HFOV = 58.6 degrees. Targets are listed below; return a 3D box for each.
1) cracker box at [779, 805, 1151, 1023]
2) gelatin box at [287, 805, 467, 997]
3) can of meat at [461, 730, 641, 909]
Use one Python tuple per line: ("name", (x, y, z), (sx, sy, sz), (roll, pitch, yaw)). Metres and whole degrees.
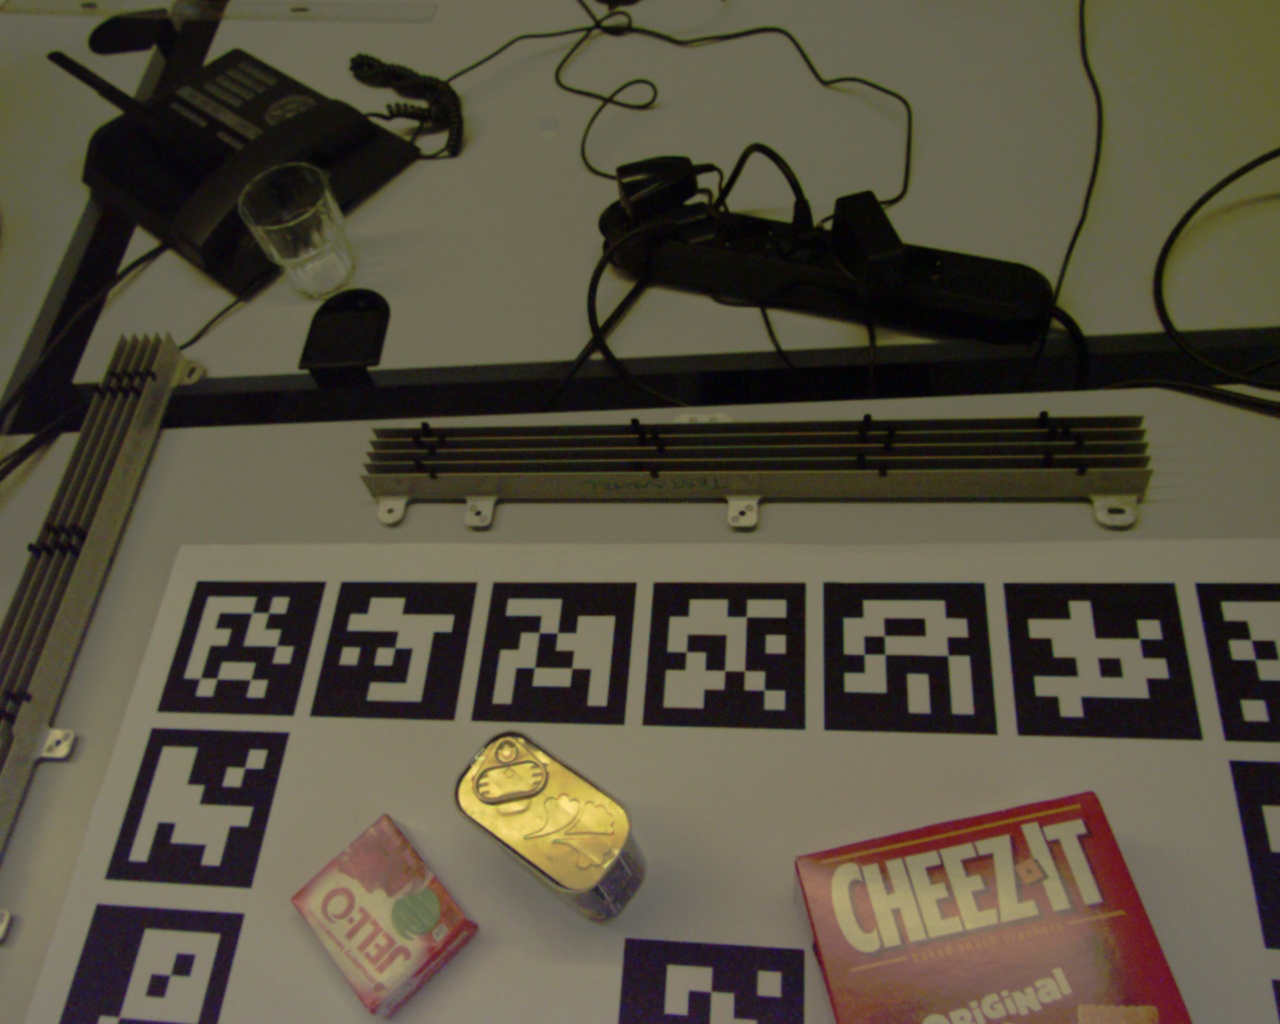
("cracker box", (0.180, 0.281, 0.601), (0.164, 0.071, 0.215), (-14, 54, 0))
("gelatin box", (-0.163, 0.241, 0.711), (0.073, 0.030, 0.090), (-40, 61, -19))
("can of meat", (-0.051, 0.191, 0.700), (0.103, 0.083, 0.057), (27, 64, 26))
